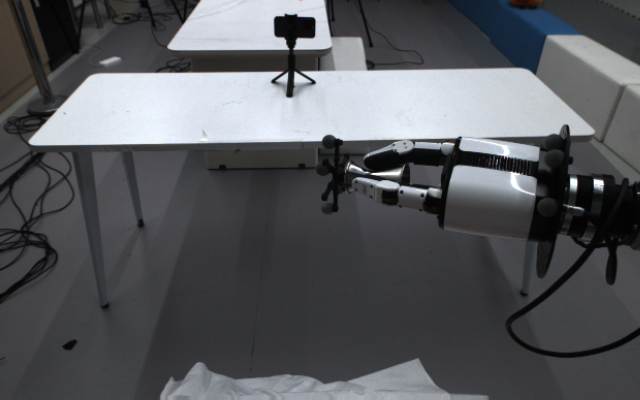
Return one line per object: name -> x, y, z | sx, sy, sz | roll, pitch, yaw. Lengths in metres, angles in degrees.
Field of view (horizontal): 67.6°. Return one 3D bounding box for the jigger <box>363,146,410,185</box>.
jigger -> 0.073, -0.027, 0.566 | 0.071, 0.043, 0.043 | 6, 34, 22
